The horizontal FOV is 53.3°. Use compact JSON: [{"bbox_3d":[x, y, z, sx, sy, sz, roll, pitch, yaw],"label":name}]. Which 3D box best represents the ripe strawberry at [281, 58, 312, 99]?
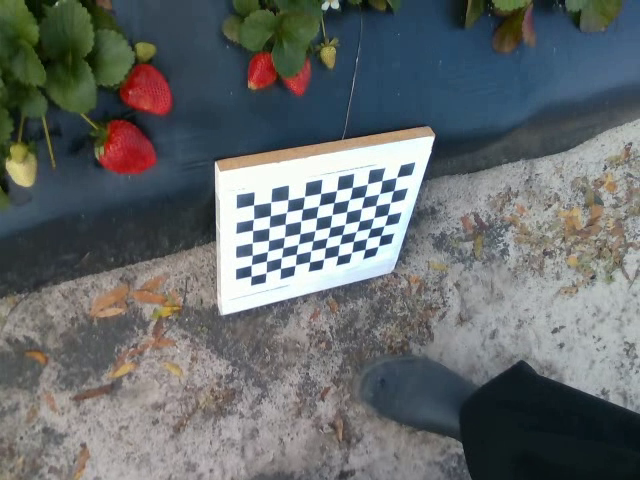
[{"bbox_3d":[-0.027,-0.186,0.731,0.044,0.049,0.041,-15,-11,-15],"label":"ripe strawberry"}]

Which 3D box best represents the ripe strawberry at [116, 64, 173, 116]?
[{"bbox_3d":[-0.185,-0.158,0.688,0.050,0.060,0.051,-51,-2,36],"label":"ripe strawberry"}]

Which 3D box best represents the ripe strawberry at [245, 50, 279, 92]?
[{"bbox_3d":[-0.070,-0.188,0.722,0.039,0.053,0.047,27,-20,25],"label":"ripe strawberry"}]

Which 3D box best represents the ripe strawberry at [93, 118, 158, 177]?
[{"bbox_3d":[-0.211,-0.098,0.701,0.065,0.043,0.058,25,-53,-27],"label":"ripe strawberry"}]
